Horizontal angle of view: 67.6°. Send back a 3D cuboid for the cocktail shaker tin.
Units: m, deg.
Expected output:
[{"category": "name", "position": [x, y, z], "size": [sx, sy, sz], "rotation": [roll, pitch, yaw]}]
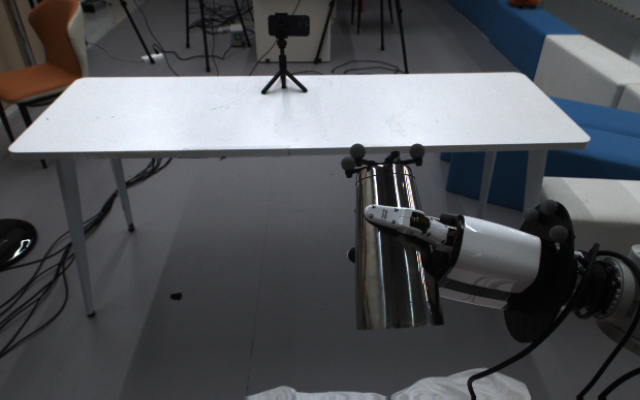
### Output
[{"category": "cocktail shaker tin", "position": [0.081, 0.052, 0.530], "size": [0.093, 0.093, 0.170], "rotation": [-3, 76, -8]}]
